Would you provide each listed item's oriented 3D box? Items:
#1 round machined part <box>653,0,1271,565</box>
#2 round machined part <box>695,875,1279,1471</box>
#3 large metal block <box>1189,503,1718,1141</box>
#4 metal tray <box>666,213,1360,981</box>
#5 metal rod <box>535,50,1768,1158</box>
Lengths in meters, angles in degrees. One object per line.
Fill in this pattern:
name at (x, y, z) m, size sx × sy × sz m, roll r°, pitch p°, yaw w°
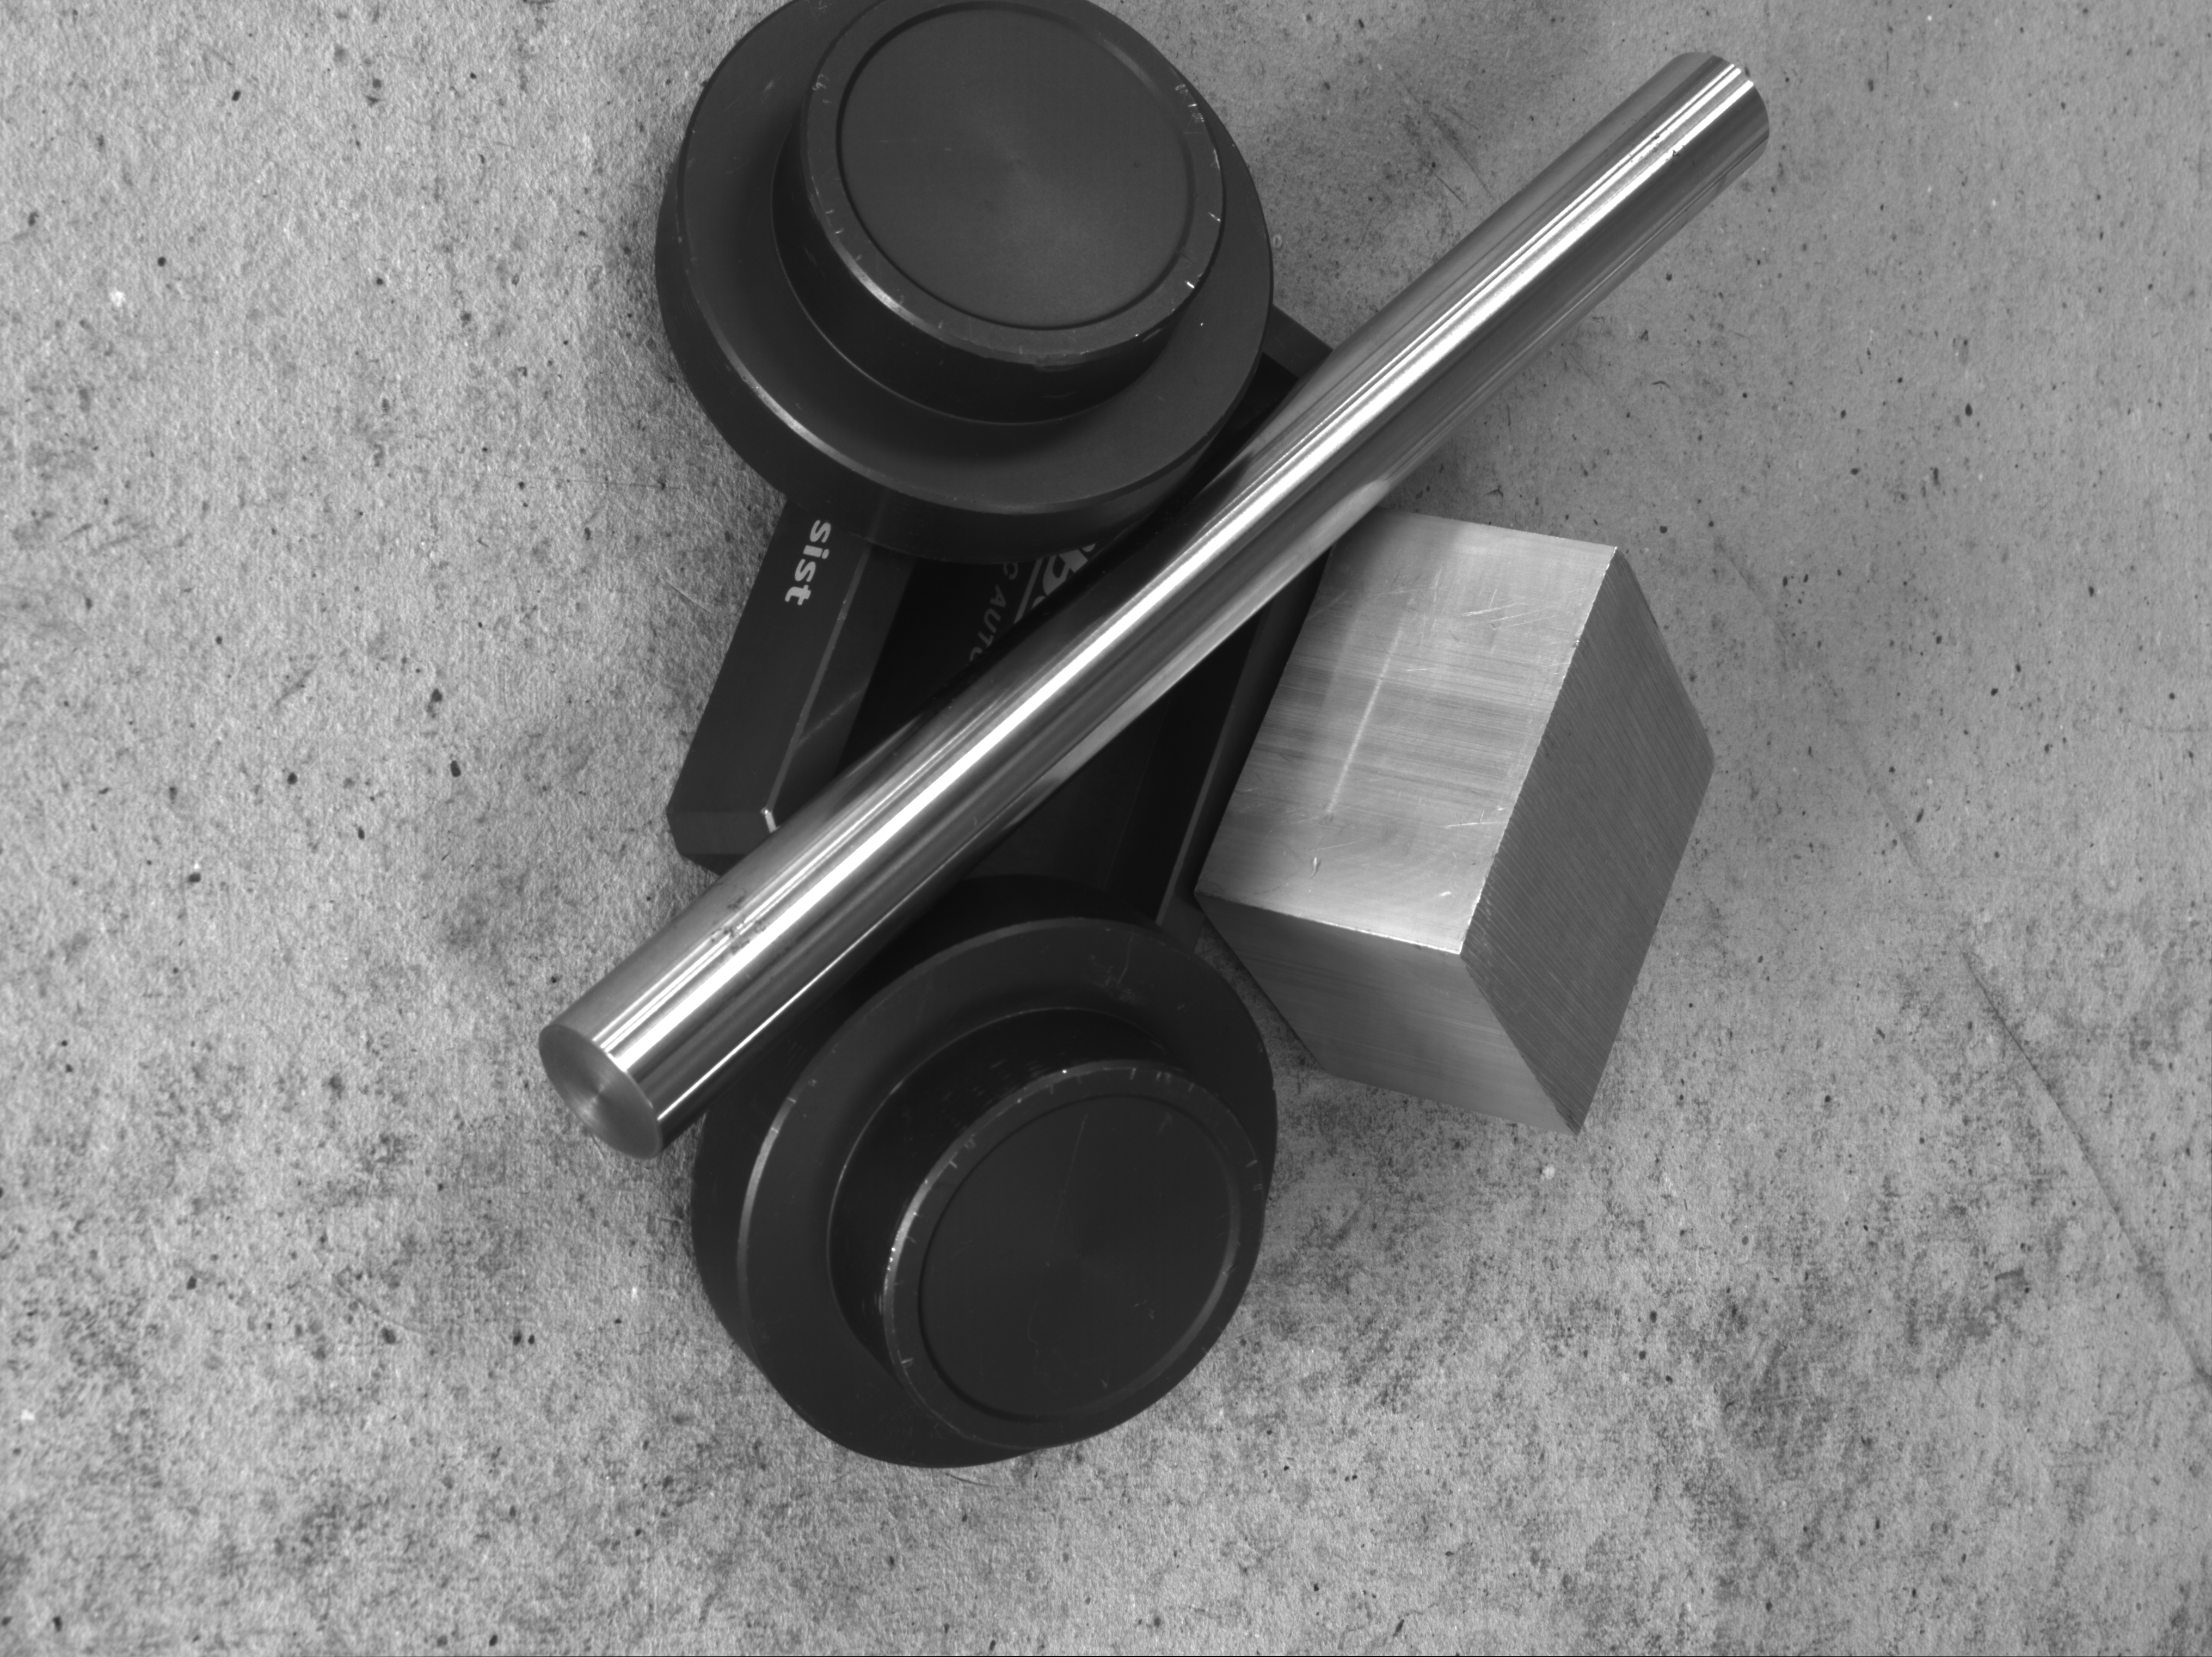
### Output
round machined part at (-0.020, -0.095, 0.583) m, size 0.098 × 0.042 × 0.098 m, roll 6°, pitch 69°, yaw -16°
round machined part at (-0.013, 0.060, 0.592) m, size 0.098 × 0.042 × 0.098 m, roll -13°, pitch 116°, yaw -27°
large metal block at (0.065, -0.001, 0.655) m, size 0.080 × 0.050 × 0.080 m, roll -67°, pitch 150°, yaw -19°
metal tray at (-0.011, -0.039, 0.624) m, size 0.090 × 0.030 × 0.130 m, roll 31°, pitch 71°, yaw -35°
metal rod at (0.020, -0.049, 0.615) m, size 0.301 × 0.025 × 0.025 m, roll -43°, pitch 116°, yaw -31°
